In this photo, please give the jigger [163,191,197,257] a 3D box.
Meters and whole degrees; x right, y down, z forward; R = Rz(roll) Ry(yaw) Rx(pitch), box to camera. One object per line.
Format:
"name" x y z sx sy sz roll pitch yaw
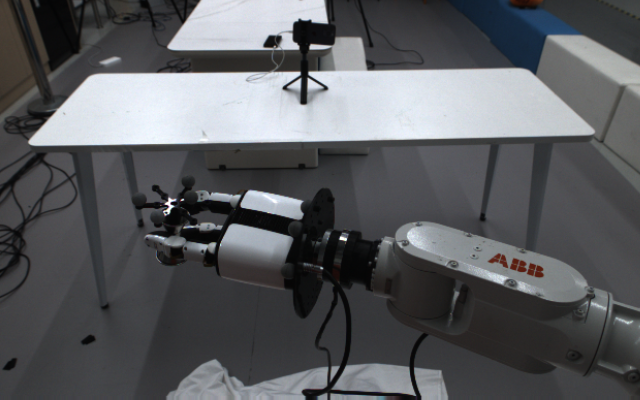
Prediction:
"jigger" -0.189 0.046 0.627 0.043 0.071 0.043 10 36 -7
